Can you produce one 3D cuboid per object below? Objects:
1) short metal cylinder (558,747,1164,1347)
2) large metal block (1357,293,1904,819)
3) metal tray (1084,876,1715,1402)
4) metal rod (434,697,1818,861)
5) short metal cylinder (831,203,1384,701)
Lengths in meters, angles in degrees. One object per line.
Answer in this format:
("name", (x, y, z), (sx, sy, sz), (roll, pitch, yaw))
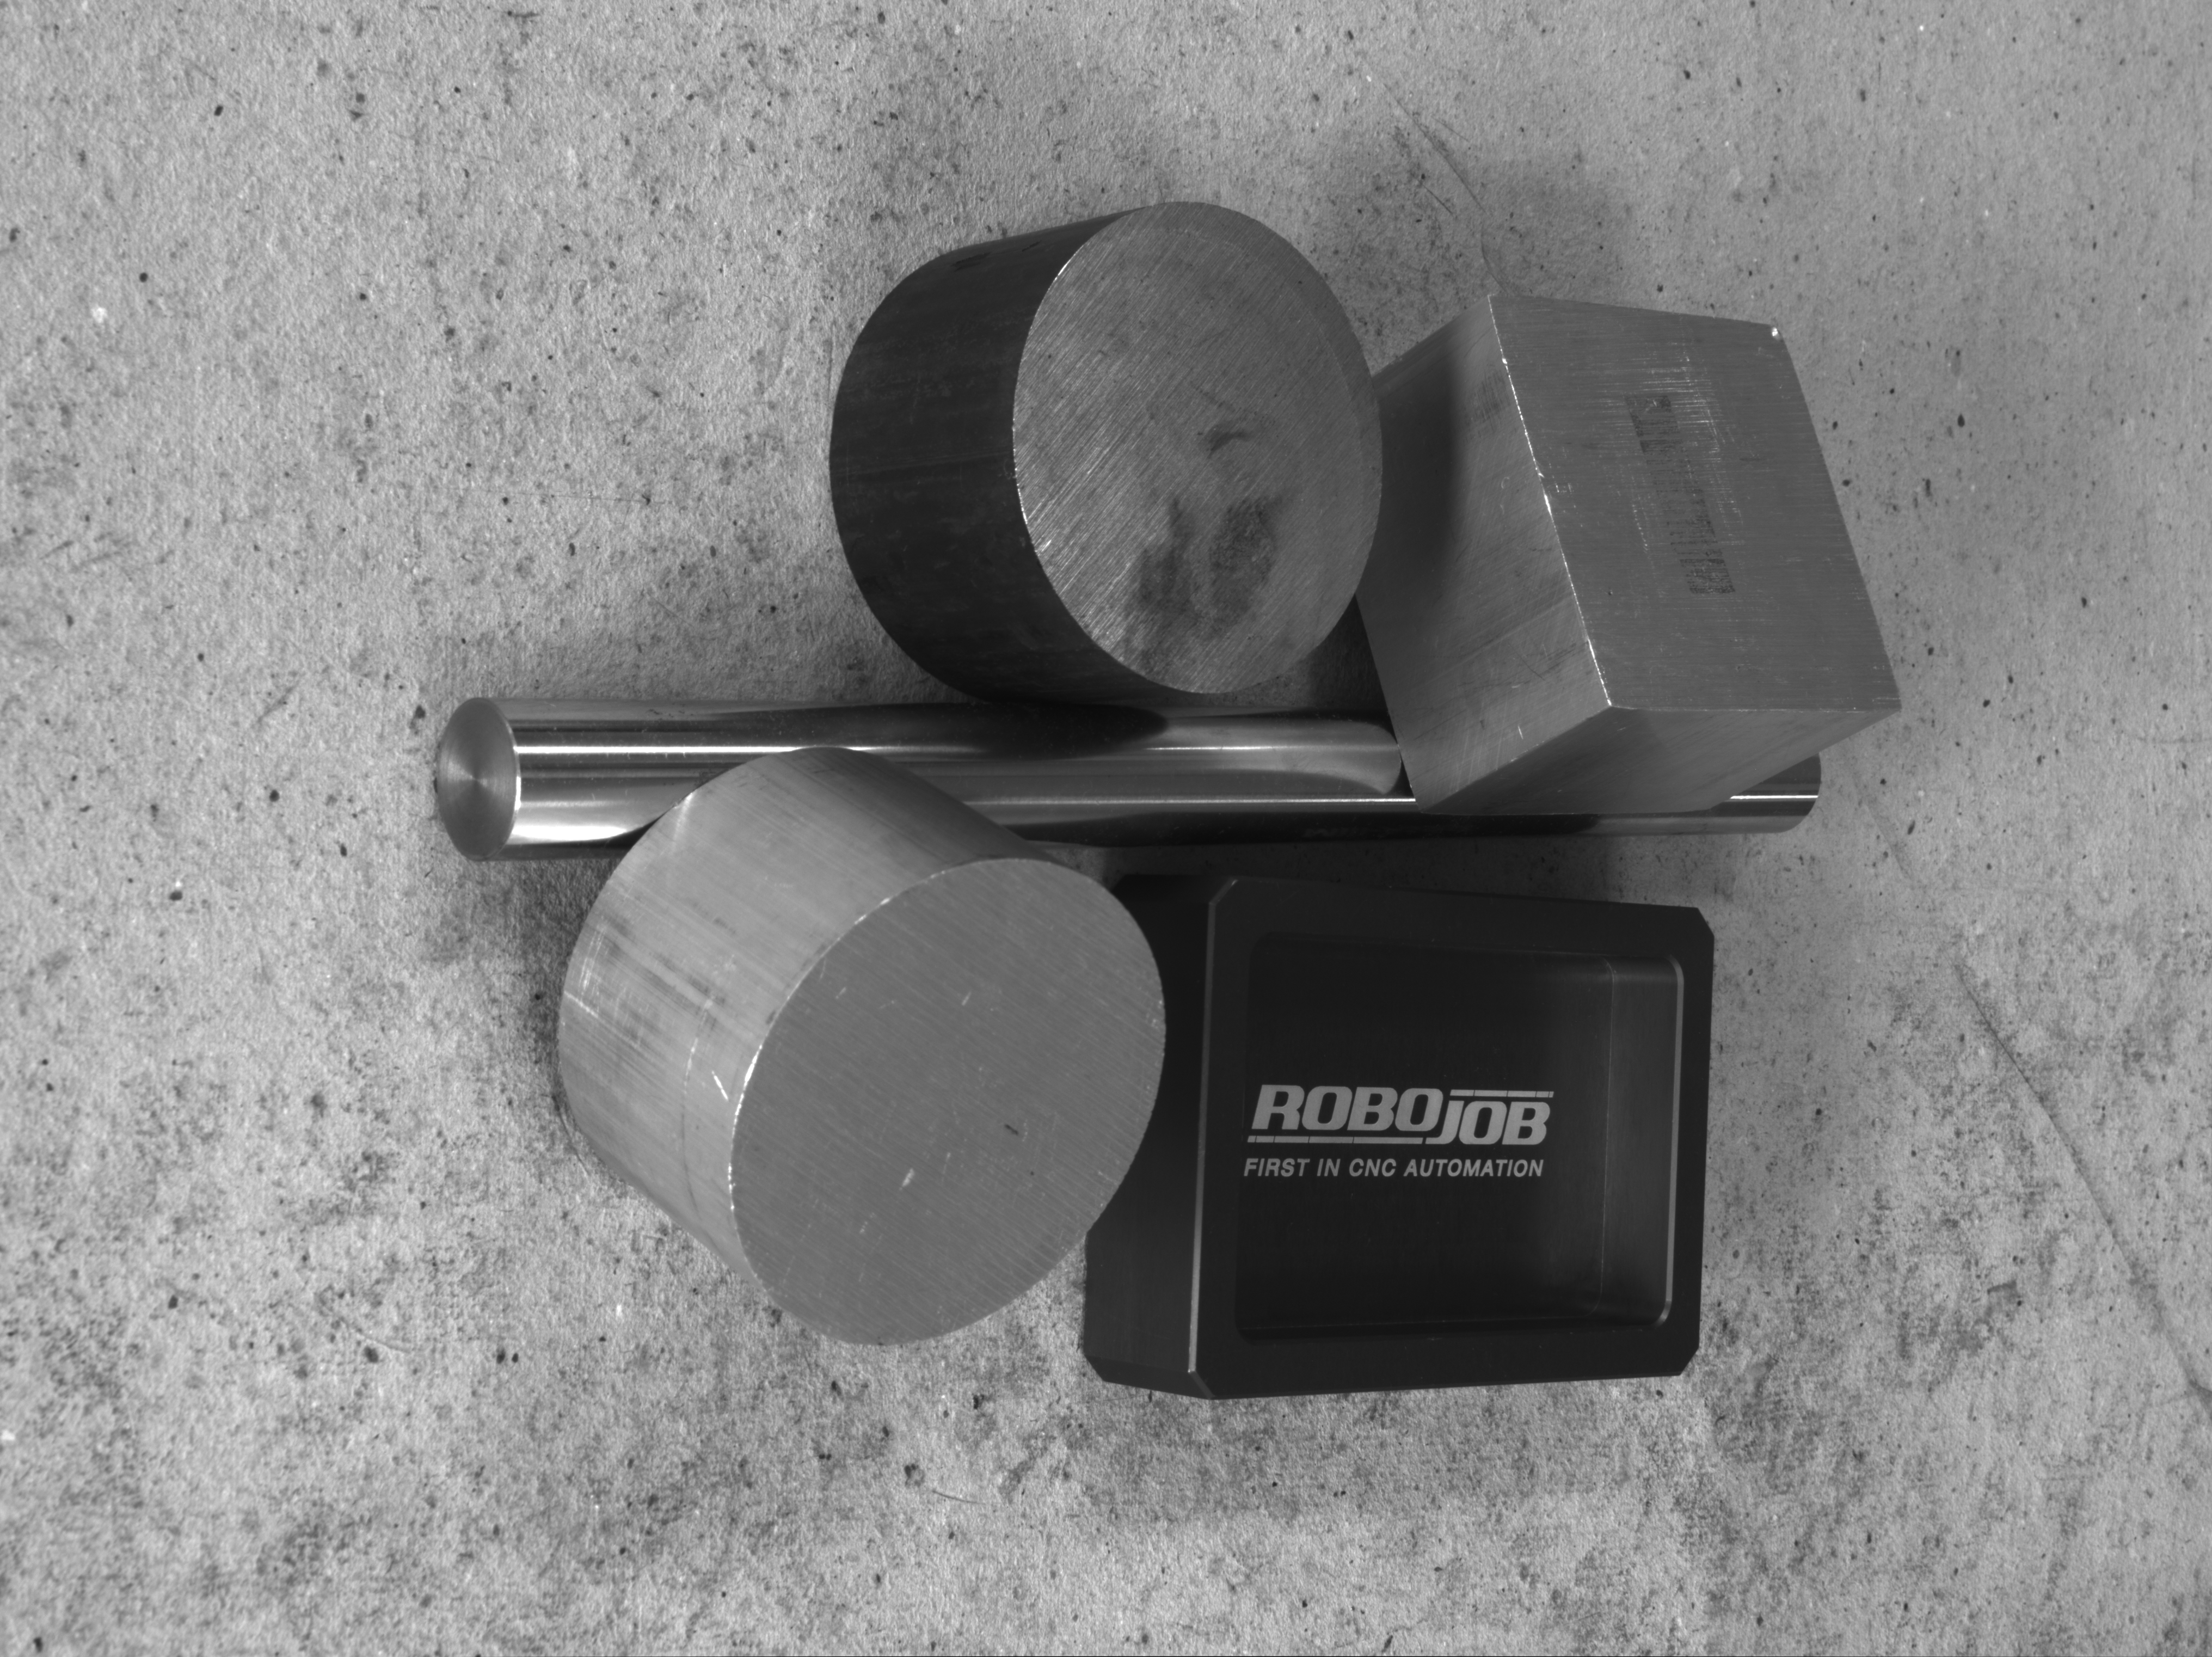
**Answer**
("short metal cylinder", (-0.038, 0.033, 0.573), (0.080, 0.050, 0.080), (-19, 122, -33))
("large metal block", (0.092, -0.049, 0.681), (0.080, 0.050, 0.080), (-1, 69, -40))
("metal tray", (0.057, 0.057, 0.679), (0.130, 0.030, 0.090), (4, 87, -40))
("metal rod", (0.020, -0.009, 0.655), (0.301, 0.025, 0.025), (-1, 91, -40))
("short metal cylinder", (0.001, -0.062, 0.621), (0.080, 0.050, 0.080), (1, 89, -40))
